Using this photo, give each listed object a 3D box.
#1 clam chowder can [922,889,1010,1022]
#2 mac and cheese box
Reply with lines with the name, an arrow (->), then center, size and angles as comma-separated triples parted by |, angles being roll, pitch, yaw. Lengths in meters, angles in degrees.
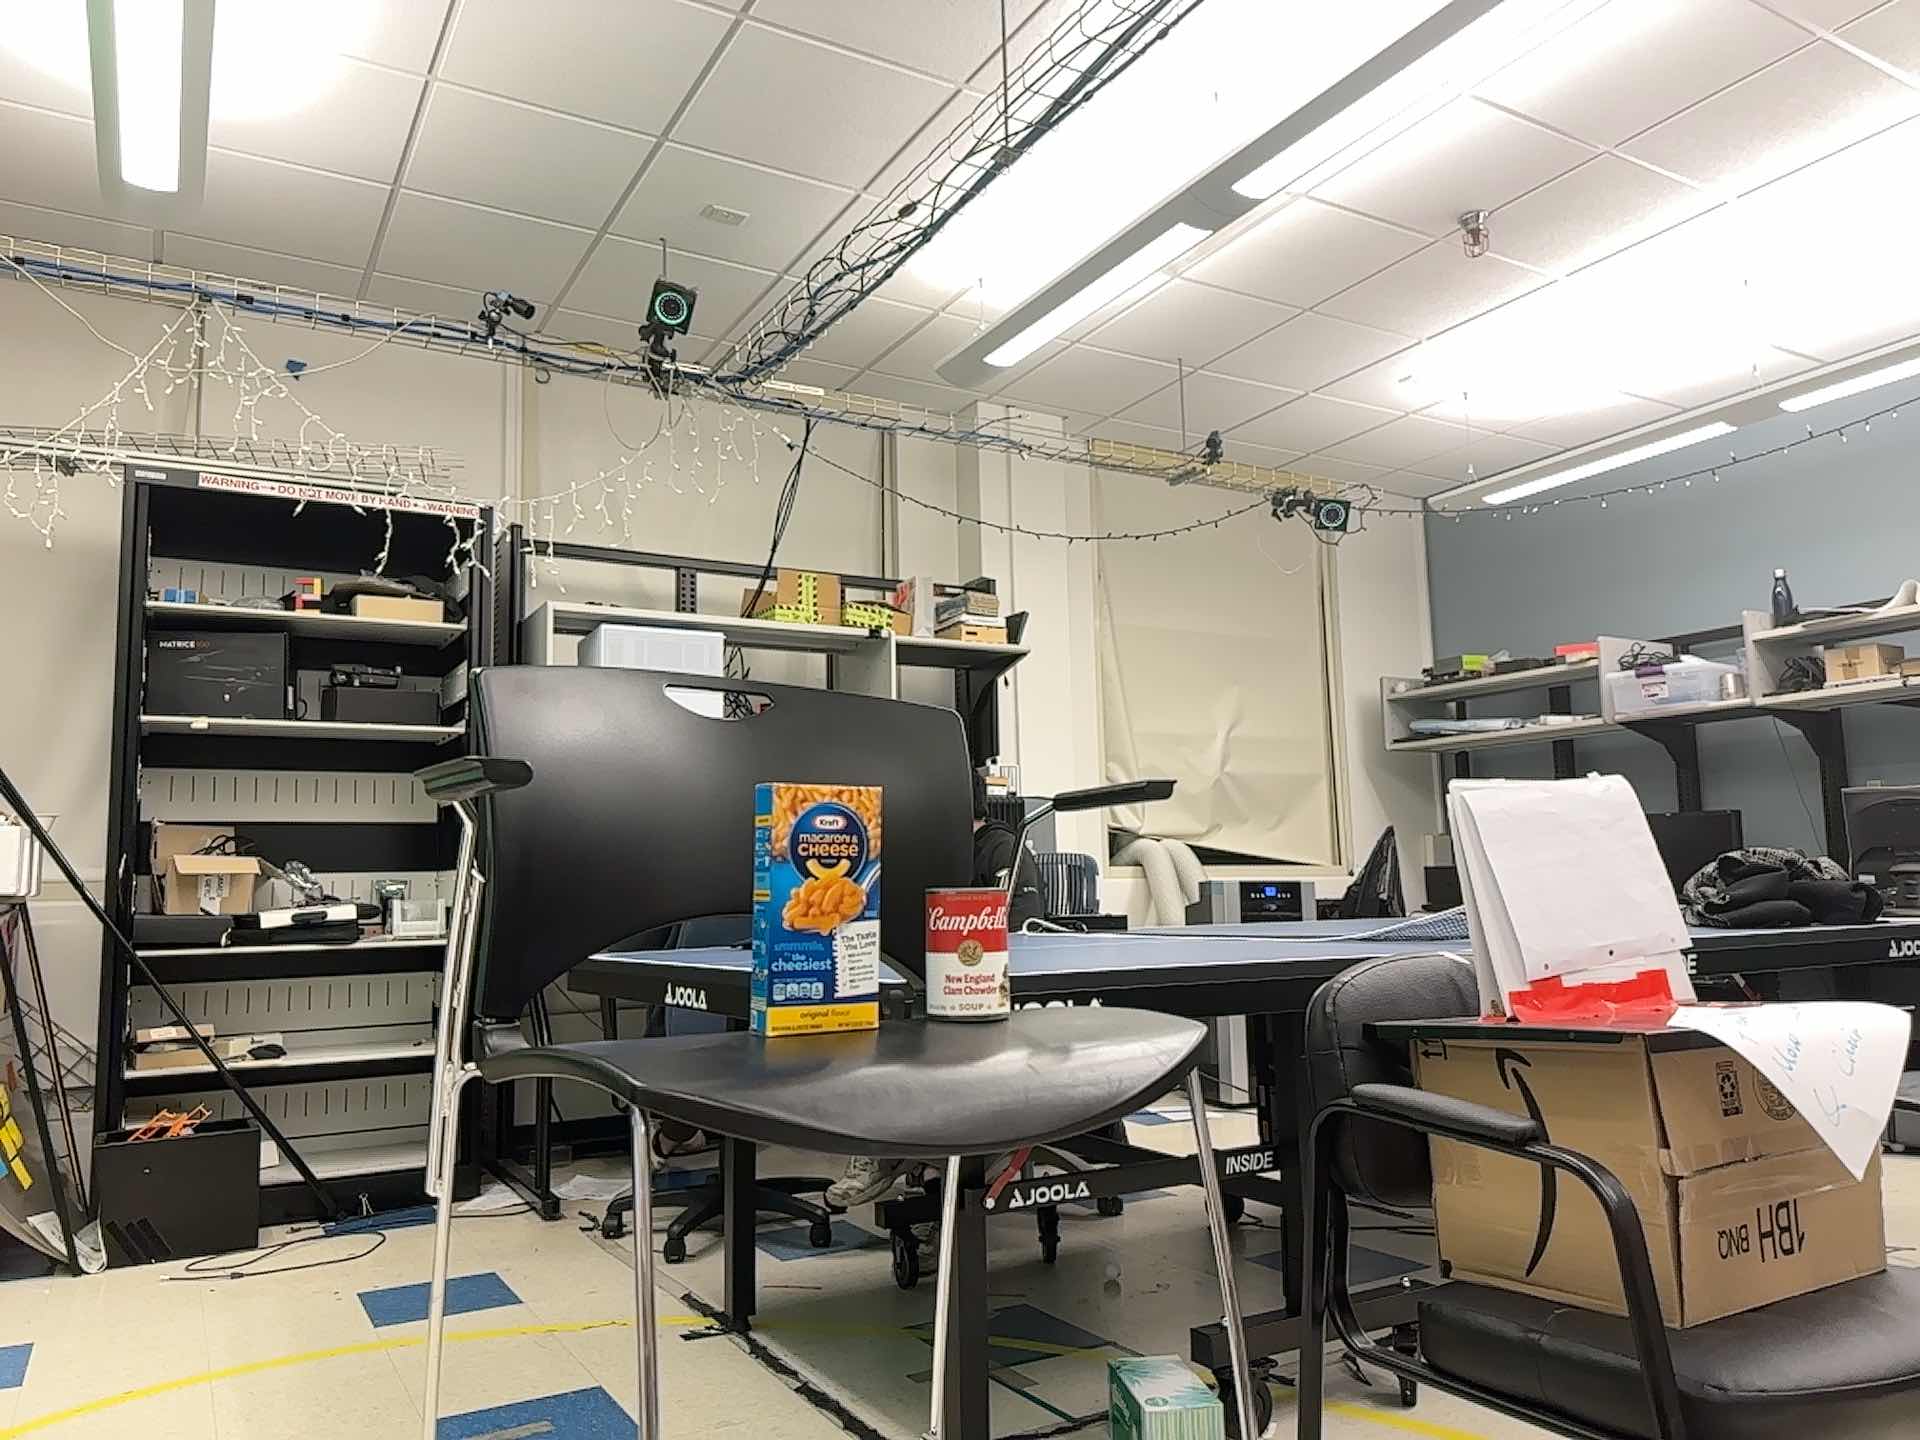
clam chowder can -> 0.004, 0.190, 1.089 | 0.068, 0.102, 0.068 | -2, -9, 0
mac and cheese box -> -0.106, 0.140, 1.015 | 0.088, 0.181, 0.035 | 2, -7, -25
